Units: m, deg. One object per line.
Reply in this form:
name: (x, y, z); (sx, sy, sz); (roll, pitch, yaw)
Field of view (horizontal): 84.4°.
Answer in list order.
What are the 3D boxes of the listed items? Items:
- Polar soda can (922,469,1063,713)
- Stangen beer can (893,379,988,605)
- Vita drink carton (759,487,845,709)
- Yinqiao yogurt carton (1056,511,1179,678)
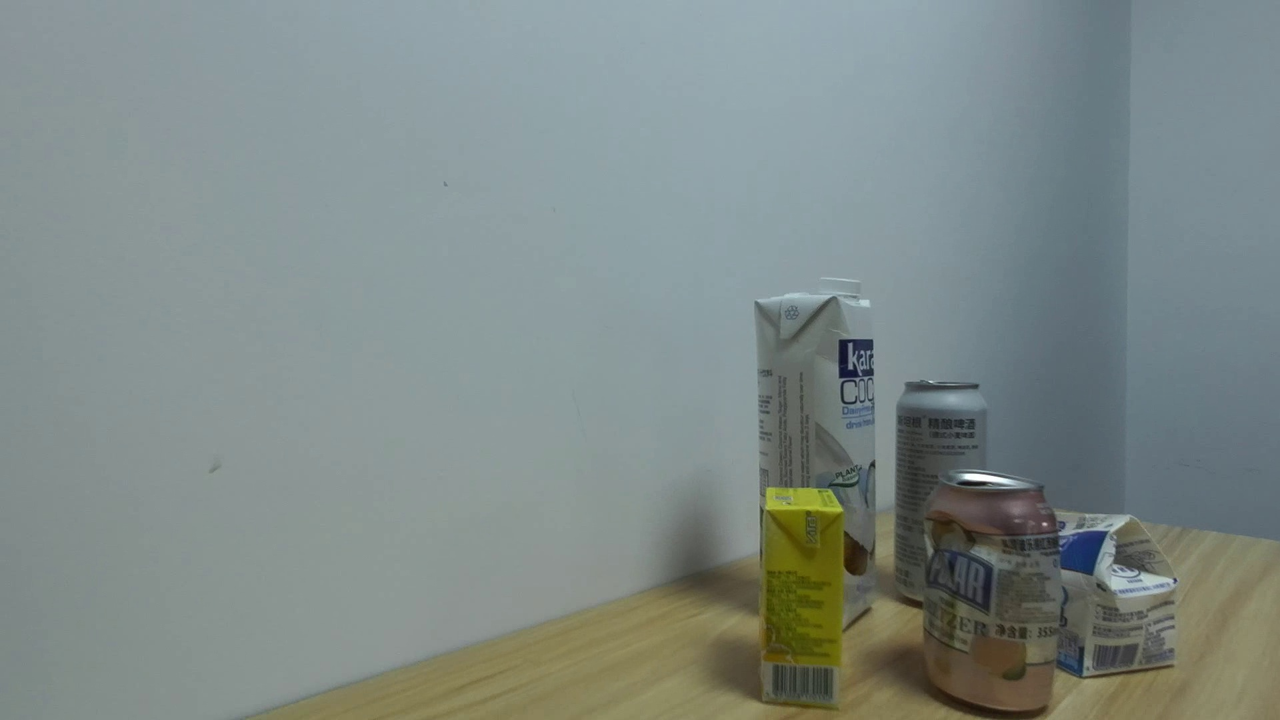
Polar soda can: (0.197, 0.129, 0.400); (0.067, 0.121, 0.074); (2, 1, 22)
Stangen beer can: (0.233, 0.102, 0.549); (0.067, 0.171, 0.067); (0, 2, 0)
Vita drink carton: (0.092, 0.132, 0.408); (0.043, 0.109, 0.067); (1, 1, 10)
Yinqiao yogurt carton: (0.285, 0.140, 0.450); (0.077, 0.093, 0.083); (1, 0, -15)
